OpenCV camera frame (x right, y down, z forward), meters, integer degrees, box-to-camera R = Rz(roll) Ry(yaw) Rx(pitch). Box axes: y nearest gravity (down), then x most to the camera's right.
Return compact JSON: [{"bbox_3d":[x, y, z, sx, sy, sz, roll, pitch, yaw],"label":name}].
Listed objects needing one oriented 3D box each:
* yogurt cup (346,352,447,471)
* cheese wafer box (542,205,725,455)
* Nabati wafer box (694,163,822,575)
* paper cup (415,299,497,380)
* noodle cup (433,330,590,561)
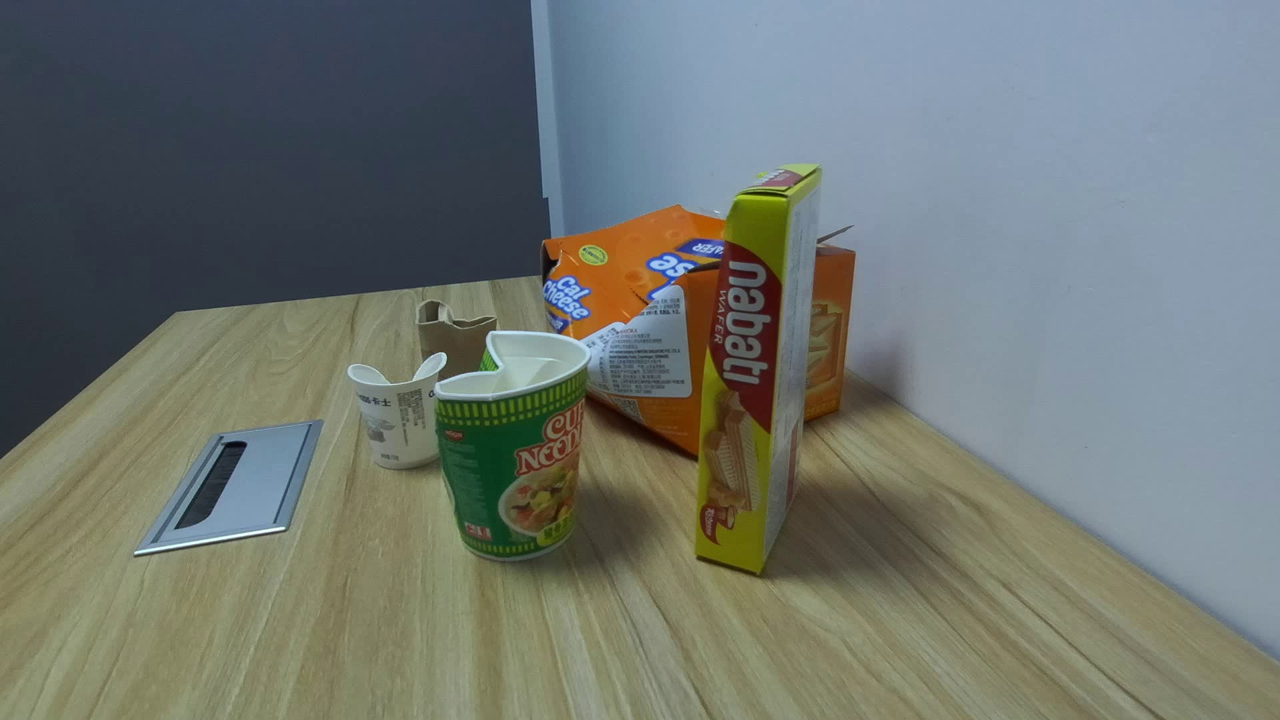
[{"bbox_3d":[-0.167,0.036,0.502,0.067,0.070,0.067,0,22,0],"label":"yogurt cup"},{"bbox_3d":[0.027,-0.038,0.570,0.192,0.145,0.218,-15,24,-33],"label":"cheese wafer box"},{"bbox_3d":[0.064,0.005,0.378,0.042,0.203,0.096,10,26,23],"label":"Nabati wafer box"},{"bbox_3d":[-0.150,-0.004,0.589,0.058,0.083,0.066,-6,24,-15],"label":"paper cup"},{"bbox_3d":[-0.072,0.051,0.400,0.086,0.109,0.094,10,26,27],"label":"noodle cup"}]
